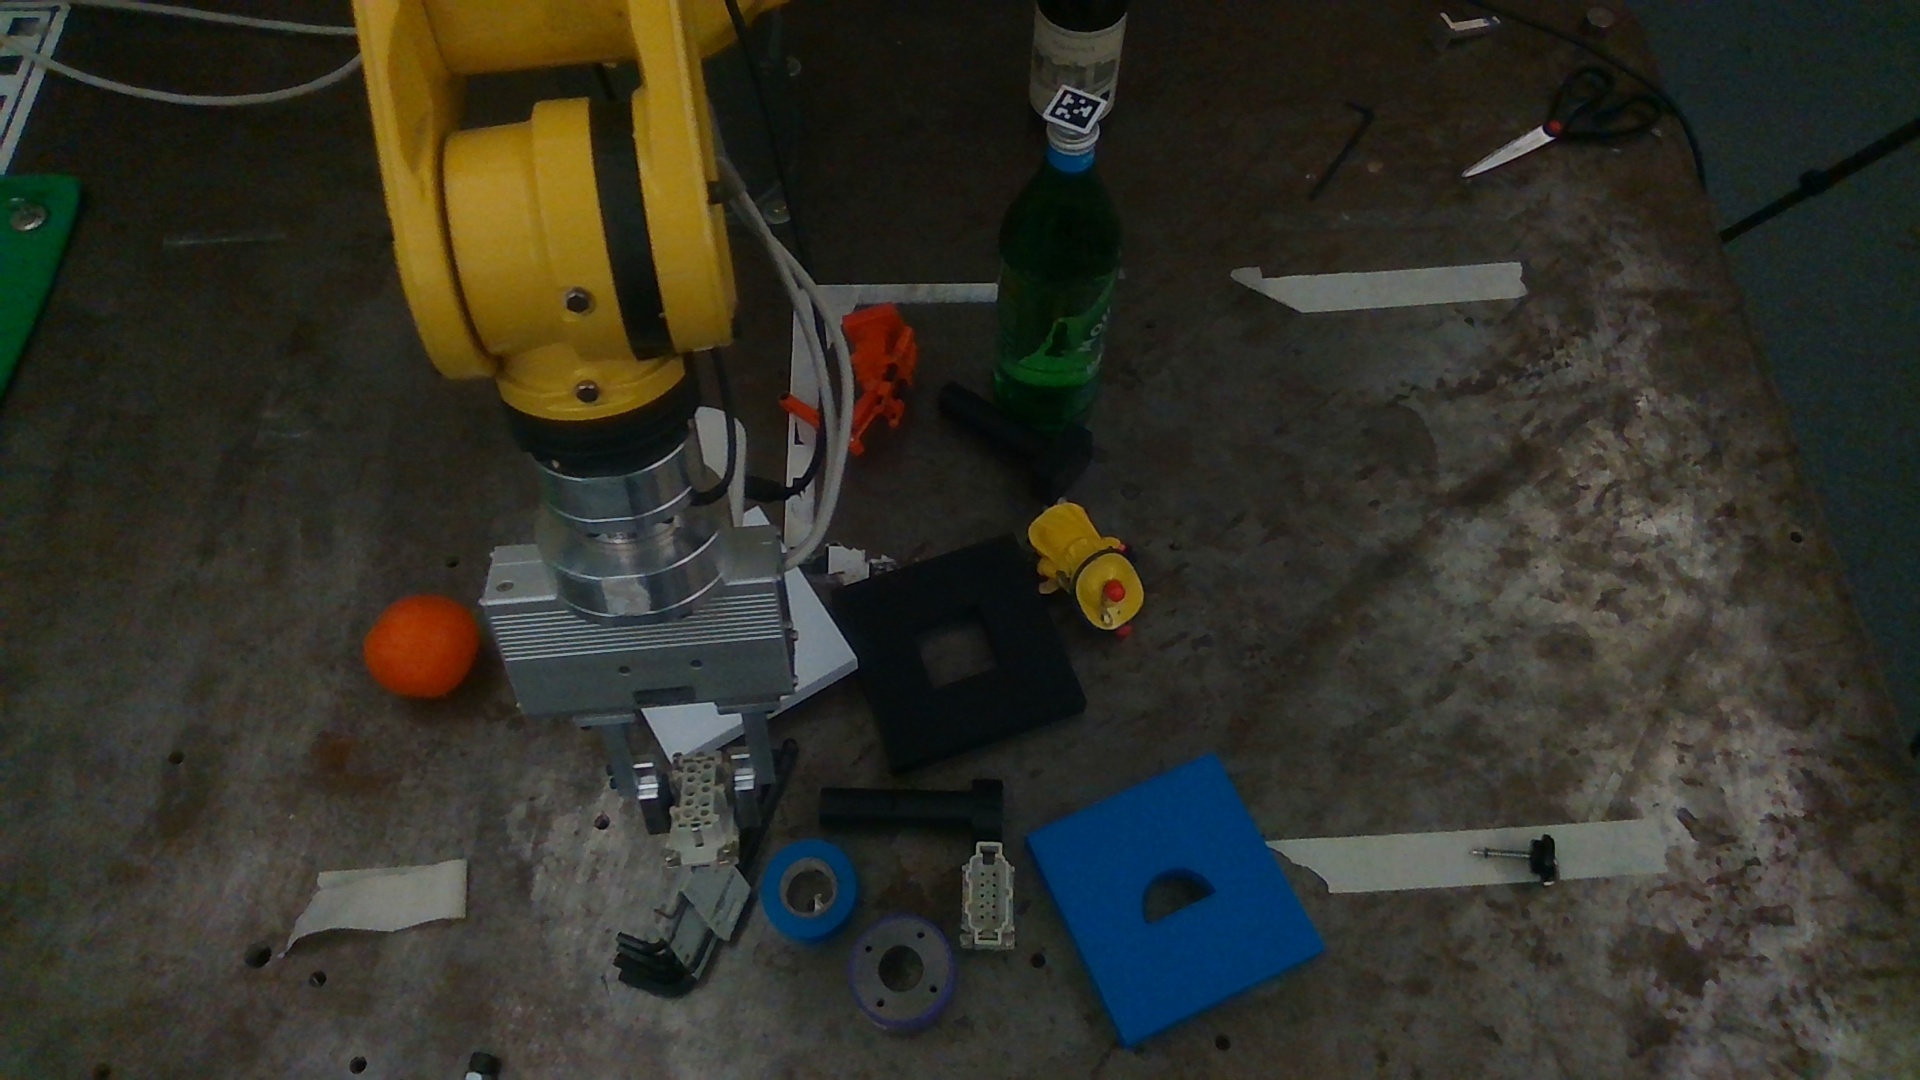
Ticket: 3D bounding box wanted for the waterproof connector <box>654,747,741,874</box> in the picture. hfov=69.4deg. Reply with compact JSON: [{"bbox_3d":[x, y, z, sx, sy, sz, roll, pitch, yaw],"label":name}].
[{"bbox_3d":[-0.131,0.133,0.688,0.037,0.038,0.069,-10,40,3],"label":"waterproof connector"}]
